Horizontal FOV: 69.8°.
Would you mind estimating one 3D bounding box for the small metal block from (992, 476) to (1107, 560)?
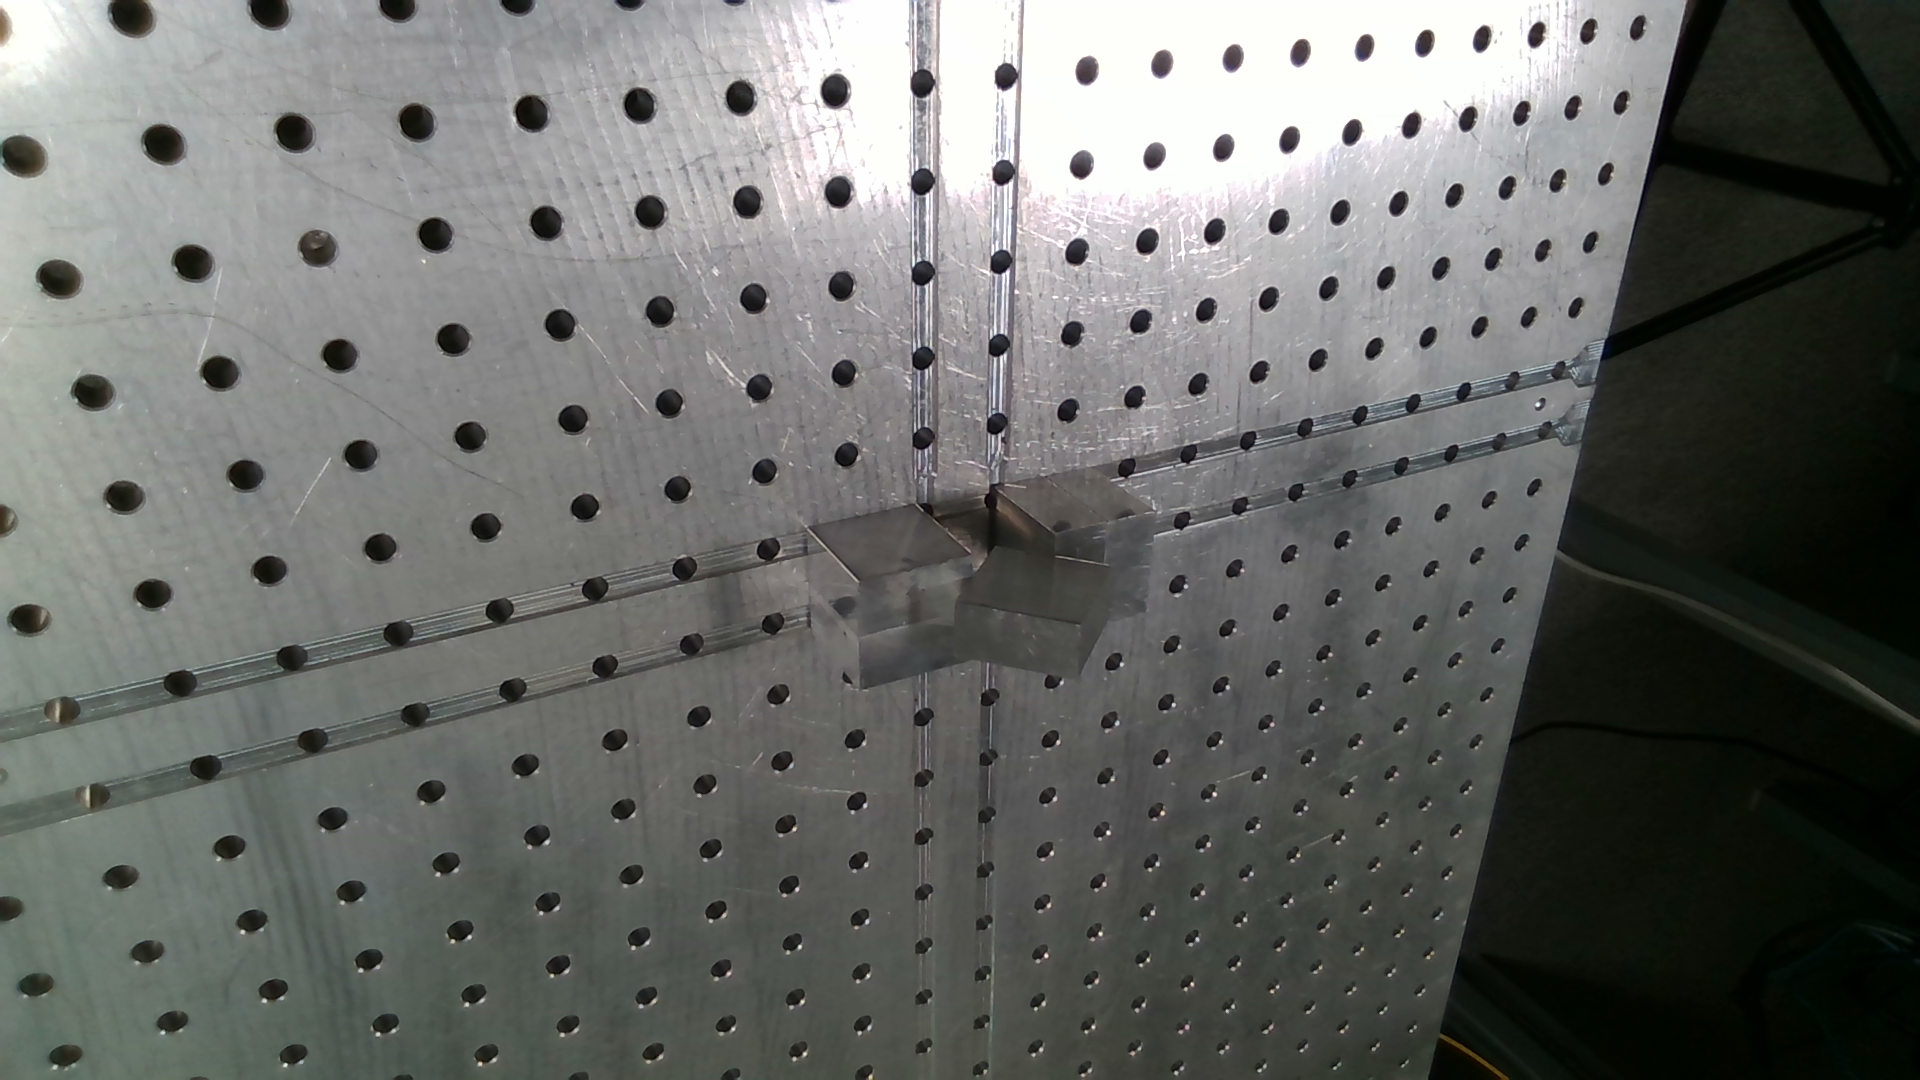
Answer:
[{"bbox_3d":[0.037,0.006,0.593,0.025,0.050,0.050,-13,121,-26],"label":"small metal block"}]

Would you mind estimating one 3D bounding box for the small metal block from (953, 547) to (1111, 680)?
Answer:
[{"bbox_3d":[0.029,0.028,0.547,0.050,0.050,0.025,-53,148,-57],"label":"small metal block"}]

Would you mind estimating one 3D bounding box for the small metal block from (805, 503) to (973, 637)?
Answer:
[{"bbox_3d":[-0.029,0.011,0.555,0.050,0.050,0.025,-13,121,-25],"label":"small metal block"}]

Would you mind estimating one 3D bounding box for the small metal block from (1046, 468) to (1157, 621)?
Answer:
[{"bbox_3d":[0.059,0.002,0.604,0.025,0.050,0.050,-13,121,-26],"label":"small metal block"}]

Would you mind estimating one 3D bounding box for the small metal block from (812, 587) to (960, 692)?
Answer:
[{"bbox_3d":[-0.029,0.034,0.566,0.050,0.050,0.025,-13,121,-25],"label":"small metal block"}]
